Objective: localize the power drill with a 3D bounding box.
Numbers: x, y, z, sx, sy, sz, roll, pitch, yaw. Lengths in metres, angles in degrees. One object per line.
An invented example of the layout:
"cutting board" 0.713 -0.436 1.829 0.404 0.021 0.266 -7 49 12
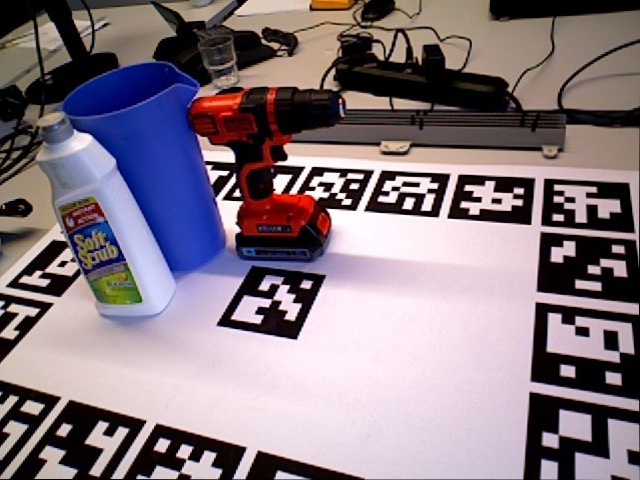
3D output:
"power drill" -0.037 -0.088 0.616 0.185 0.191 0.056 4 46 10

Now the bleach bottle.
"bleach bottle" -0.243 -0.041 0.573 0.103 0.255 0.066 -2 42 13

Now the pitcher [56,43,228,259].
"pitcher" -0.203 -0.093 0.651 0.188 0.247 0.131 -15 43 -2
